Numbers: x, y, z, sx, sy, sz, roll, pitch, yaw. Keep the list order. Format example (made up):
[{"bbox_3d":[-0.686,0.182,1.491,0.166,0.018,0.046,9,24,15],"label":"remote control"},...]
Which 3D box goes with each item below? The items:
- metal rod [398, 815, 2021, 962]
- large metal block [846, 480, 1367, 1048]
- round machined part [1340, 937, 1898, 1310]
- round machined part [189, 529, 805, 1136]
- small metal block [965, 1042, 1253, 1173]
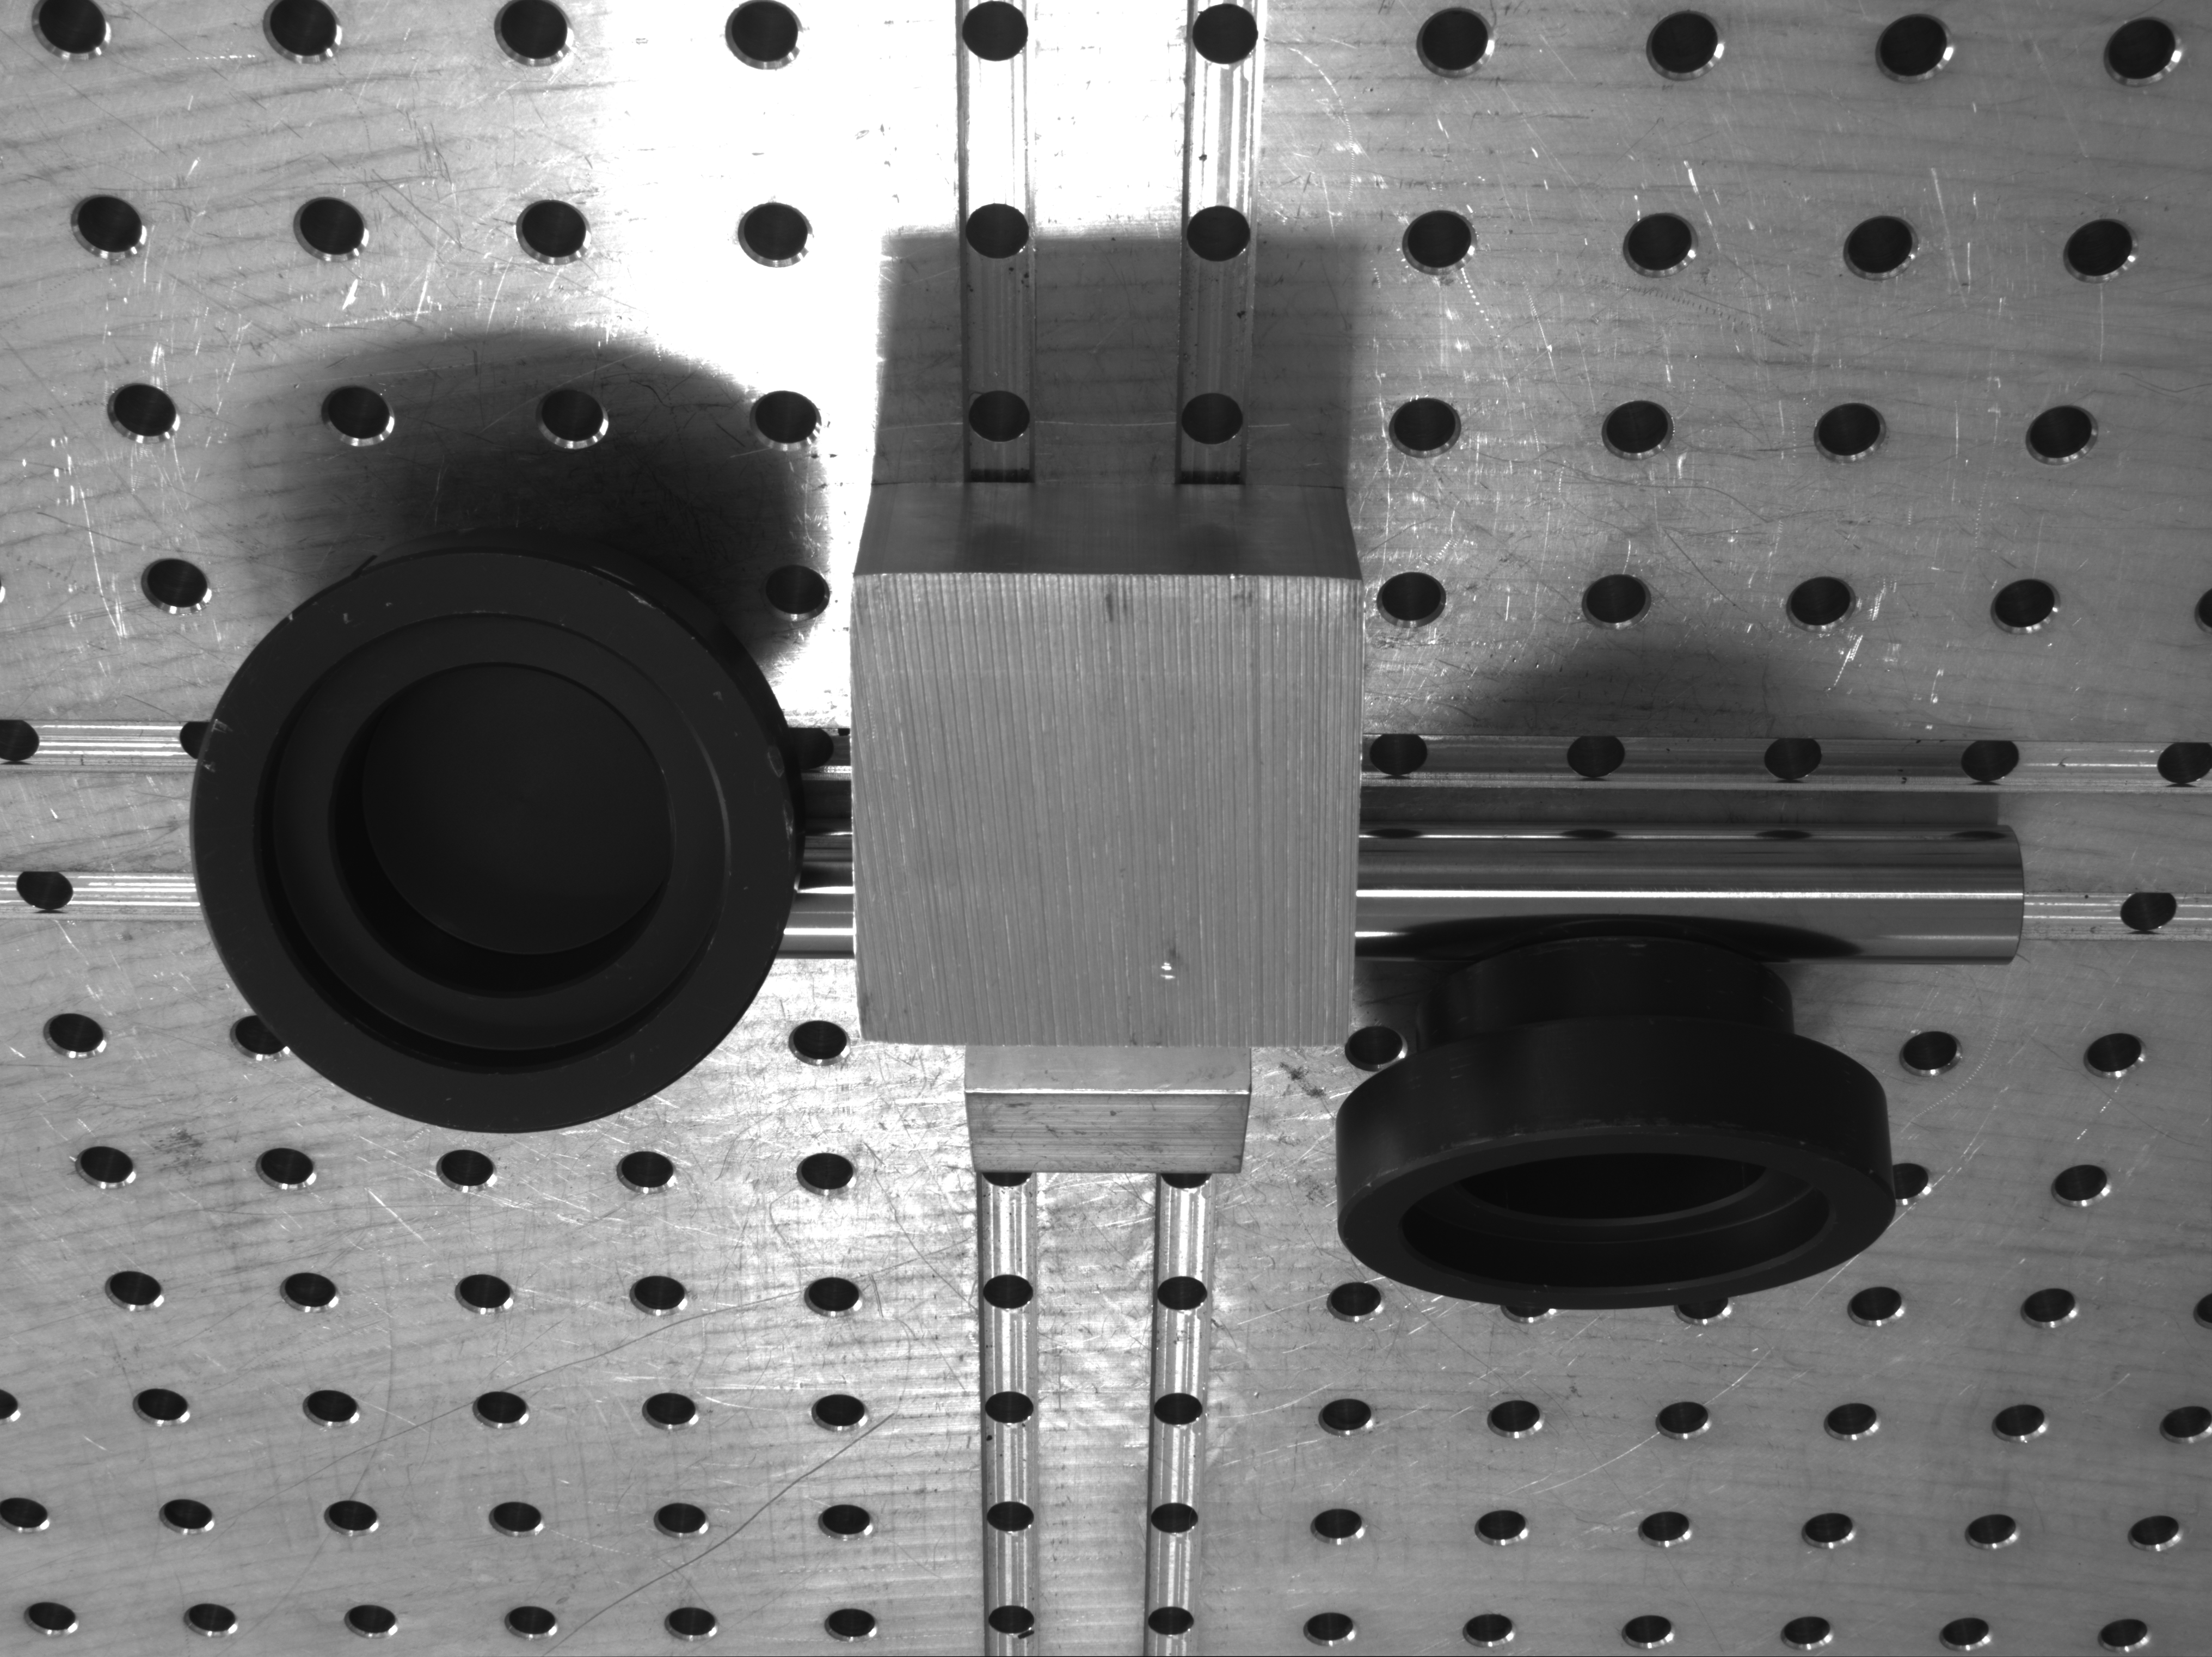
[{"bbox_3d":[0.010,0.010,0.653,0.300,0.025,0.025,0,130,0],"label":"metal rod"},{"bbox_3d":[0.000,-0.011,0.602,0.080,0.050,0.080,0,112,0],"label":"large metal block"},{"bbox_3d":[0.091,0.052,0.659,0.098,0.042,0.098,0,155,0],"label":"round machined part"},{"bbox_3d":[-0.099,-0.002,0.614,0.098,0.042,0.098,0,104,0],"label":"round machined part"},{"bbox_3d":[0.000,0.043,0.666,0.050,0.025,0.050,0,159,0],"label":"small metal block"}]
